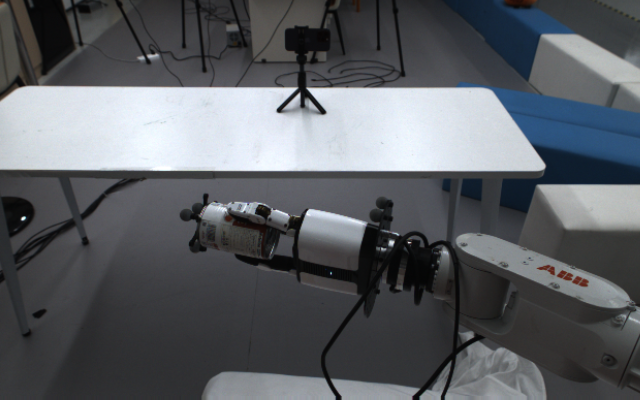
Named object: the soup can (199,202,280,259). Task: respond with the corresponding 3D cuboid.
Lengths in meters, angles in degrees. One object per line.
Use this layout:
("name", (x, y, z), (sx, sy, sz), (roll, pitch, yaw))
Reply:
("soup can", (-0.112, 0.045, 0.685), (0.101, 0.067, 0.067), (10, 35, 10))
